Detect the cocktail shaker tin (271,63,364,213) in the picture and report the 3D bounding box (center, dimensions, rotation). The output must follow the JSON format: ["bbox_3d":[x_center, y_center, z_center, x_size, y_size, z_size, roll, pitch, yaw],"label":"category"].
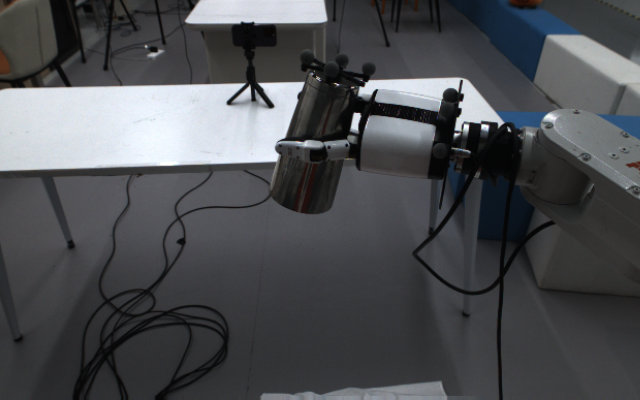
[{"bbox_3d":[-0.002,-0.079,0.629,0.093,0.170,0.093,12,29,-7],"label":"cocktail shaker tin"}]
